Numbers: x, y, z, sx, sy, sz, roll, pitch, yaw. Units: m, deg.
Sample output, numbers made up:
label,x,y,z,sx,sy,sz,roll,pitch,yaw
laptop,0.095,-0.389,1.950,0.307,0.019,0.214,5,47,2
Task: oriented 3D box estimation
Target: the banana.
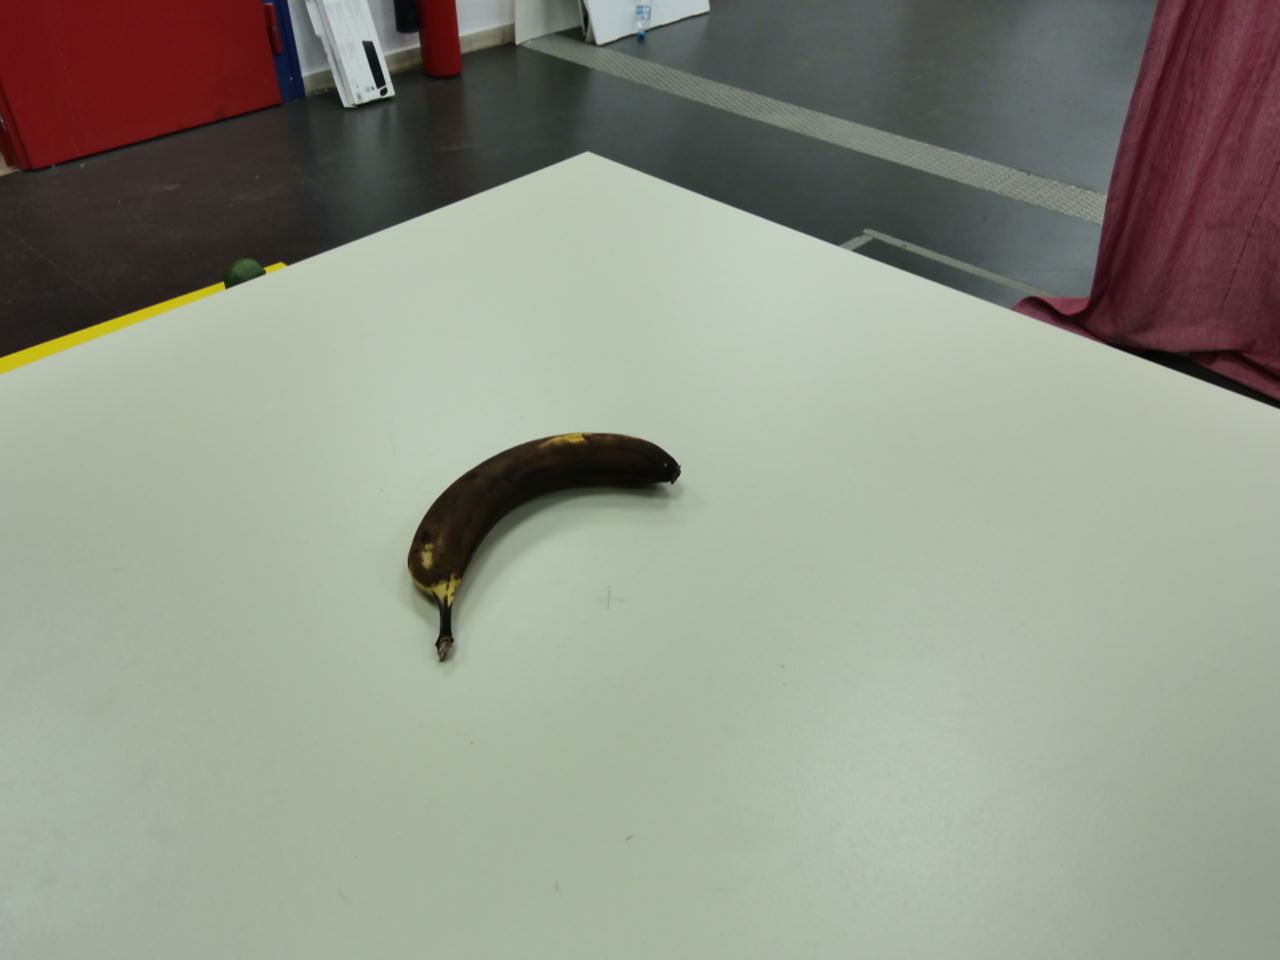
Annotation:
label,x,y,z,sx,sy,sz,roll,pitch,yaw
banana,-0.066,0.016,0.563,0.091,0.034,0.188,30,46,32
